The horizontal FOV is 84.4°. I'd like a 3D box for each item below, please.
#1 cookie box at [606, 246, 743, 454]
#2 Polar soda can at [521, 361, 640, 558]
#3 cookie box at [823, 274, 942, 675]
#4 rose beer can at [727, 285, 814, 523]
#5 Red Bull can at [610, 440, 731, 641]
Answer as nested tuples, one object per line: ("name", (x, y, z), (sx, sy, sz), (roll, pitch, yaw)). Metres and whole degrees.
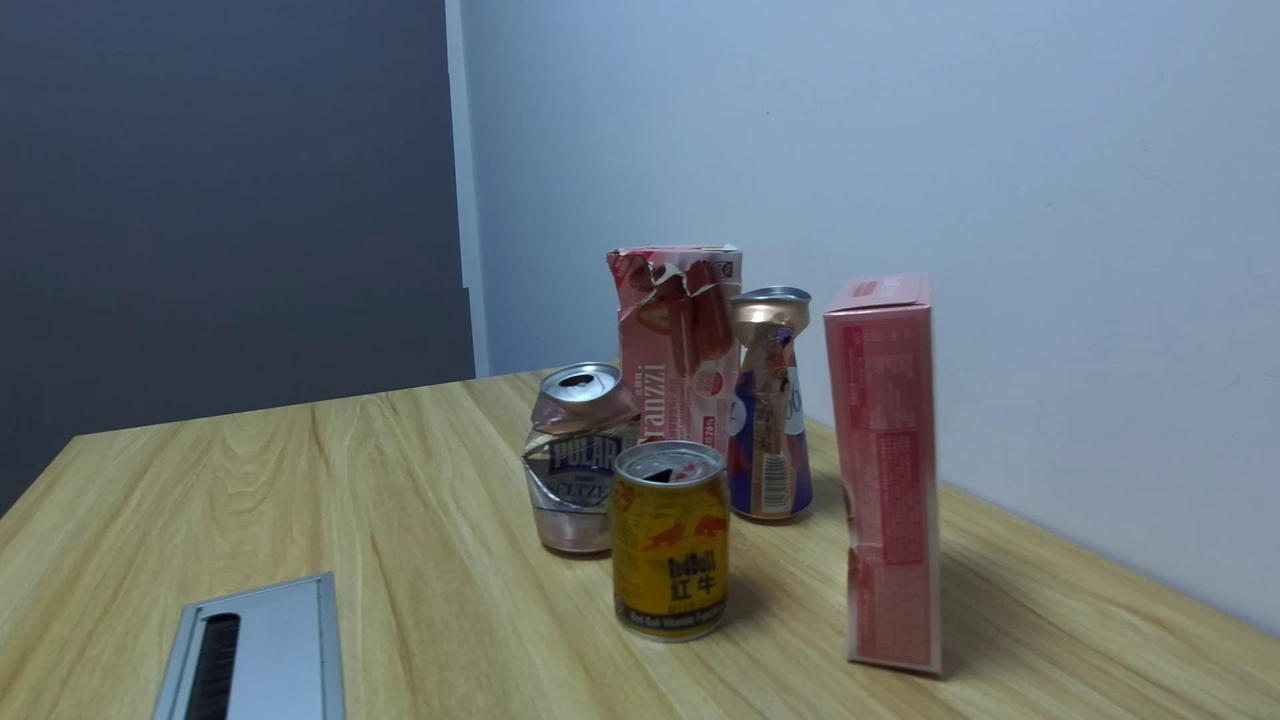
("cookie box", (0.031, 0.000, 0.581), (0.105, 0.186, 0.059), (-1, 14, 5))
("Polar soda can", (-0.039, 0.068, 0.471), (0.071, 0.122, 0.066), (-13, 24, -32))
("cookie box", (0.130, 0.057, 0.367), (0.048, 0.187, 0.105), (-2, 13, 22))
("rose beer can", (0.097, 0.035, 0.516), (0.068, 0.161, 0.073), (-1, 4, -15))
("Red Bull can", (0.016, 0.098, 0.394), (0.069, 0.092, 0.069), (-1, 15, 1))
